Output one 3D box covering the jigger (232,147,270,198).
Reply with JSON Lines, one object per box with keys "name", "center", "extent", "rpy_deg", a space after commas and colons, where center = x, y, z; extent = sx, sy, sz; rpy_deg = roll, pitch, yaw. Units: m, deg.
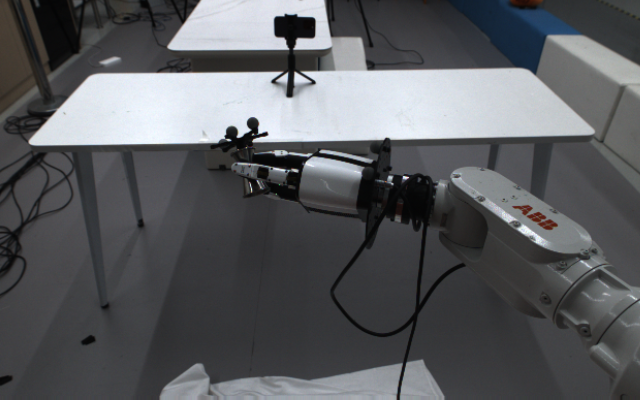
{"name": "jigger", "center": [-0.103, -0.042, 0.727], "extent": [0.043, 0.071, 0.043], "rpy_deg": [-19, -4, -1]}
